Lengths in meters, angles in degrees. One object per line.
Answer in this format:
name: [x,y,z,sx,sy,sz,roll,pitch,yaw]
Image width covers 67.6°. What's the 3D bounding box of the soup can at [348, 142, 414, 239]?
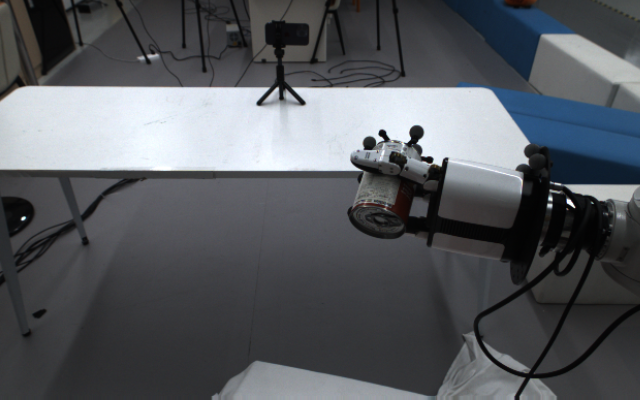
soup can: [0.081,-0.016,0.585,0.067,0.067,0.101,12,59,14]
